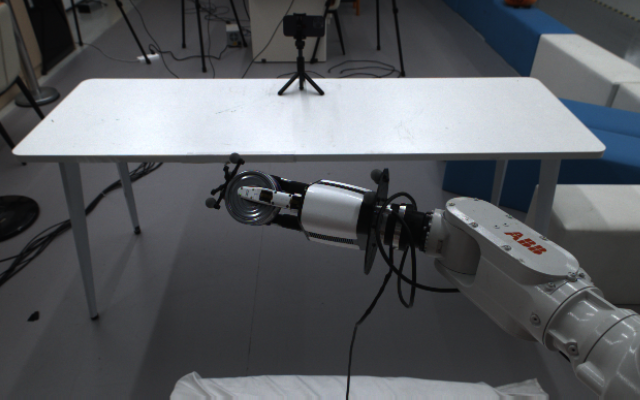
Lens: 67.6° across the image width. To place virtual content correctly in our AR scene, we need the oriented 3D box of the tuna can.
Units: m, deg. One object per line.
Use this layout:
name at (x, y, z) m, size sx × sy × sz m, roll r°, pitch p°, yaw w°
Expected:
tuna can at (-0.100, 0.000, 0.745) m, size 0.085 × 0.085 × 0.034 m, roll 9°, pitch -3°, yaw 10°
